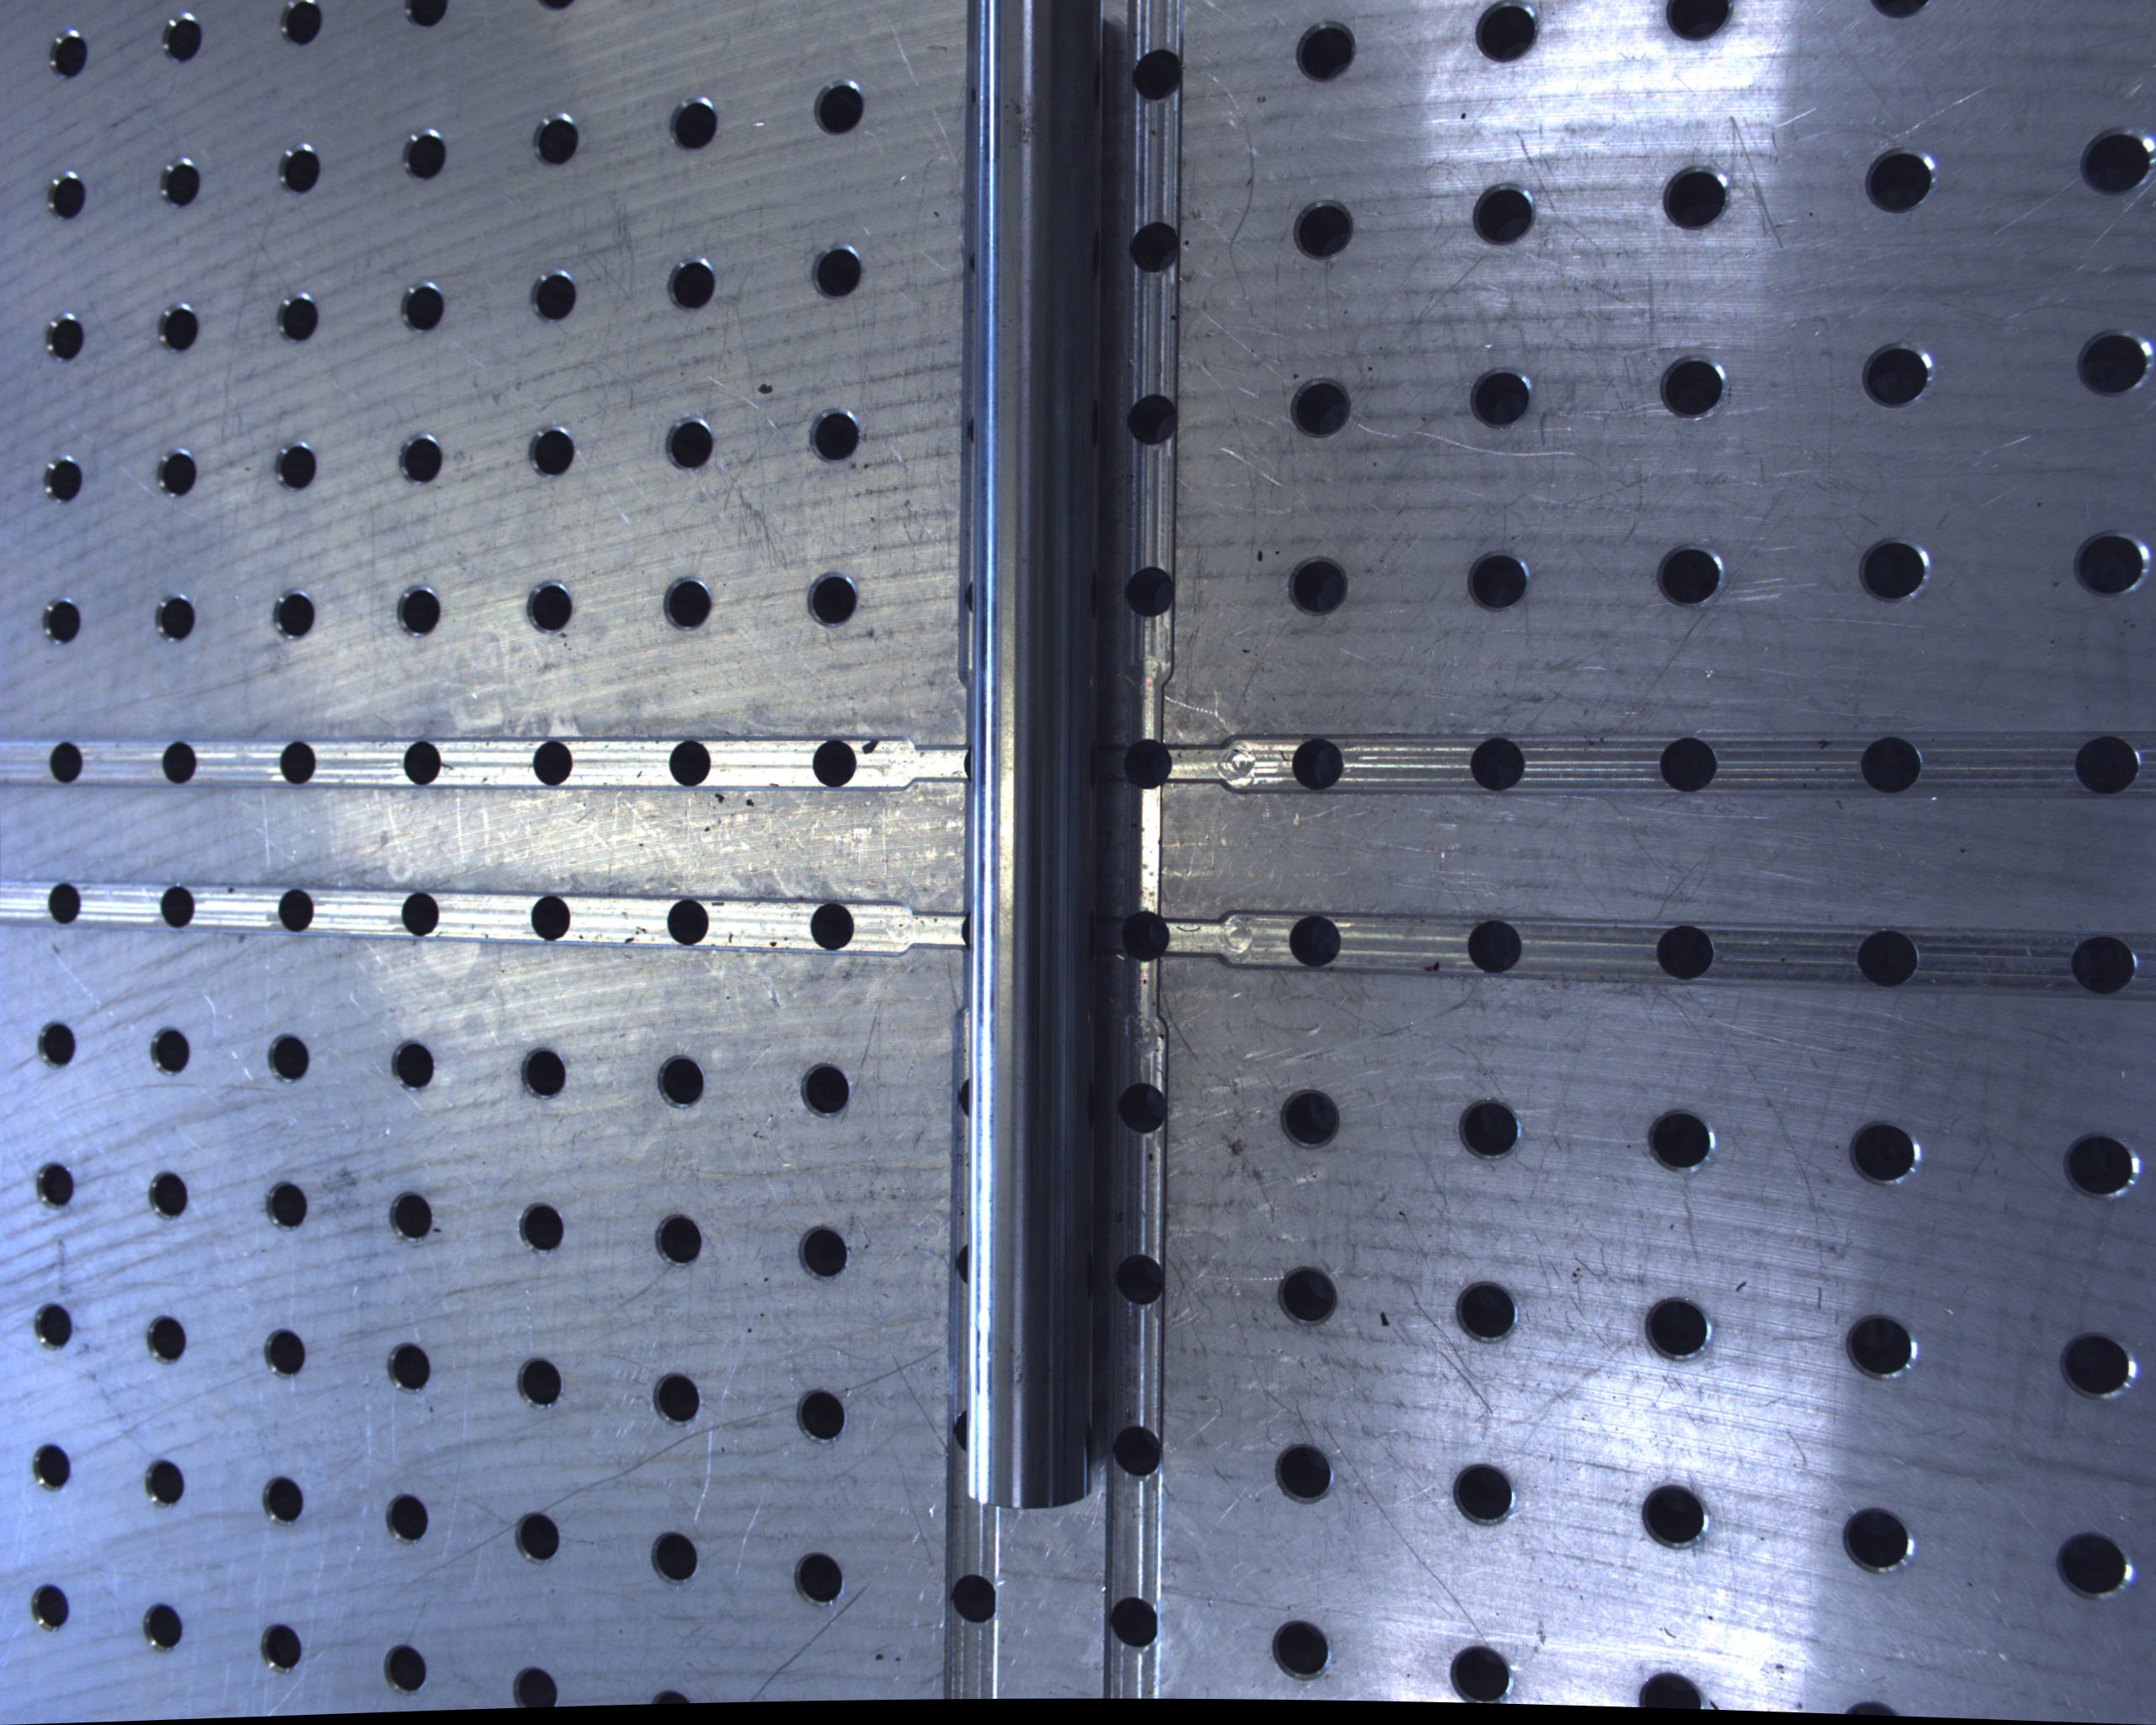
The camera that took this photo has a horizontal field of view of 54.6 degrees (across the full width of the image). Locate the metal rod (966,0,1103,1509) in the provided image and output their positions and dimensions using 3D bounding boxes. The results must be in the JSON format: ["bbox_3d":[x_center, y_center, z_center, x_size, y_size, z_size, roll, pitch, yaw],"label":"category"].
[{"bbox_3d":[-0.009,-0.024,0.416,0.025,0.025,0.298,1,90,20],"label":"metal rod"}]
